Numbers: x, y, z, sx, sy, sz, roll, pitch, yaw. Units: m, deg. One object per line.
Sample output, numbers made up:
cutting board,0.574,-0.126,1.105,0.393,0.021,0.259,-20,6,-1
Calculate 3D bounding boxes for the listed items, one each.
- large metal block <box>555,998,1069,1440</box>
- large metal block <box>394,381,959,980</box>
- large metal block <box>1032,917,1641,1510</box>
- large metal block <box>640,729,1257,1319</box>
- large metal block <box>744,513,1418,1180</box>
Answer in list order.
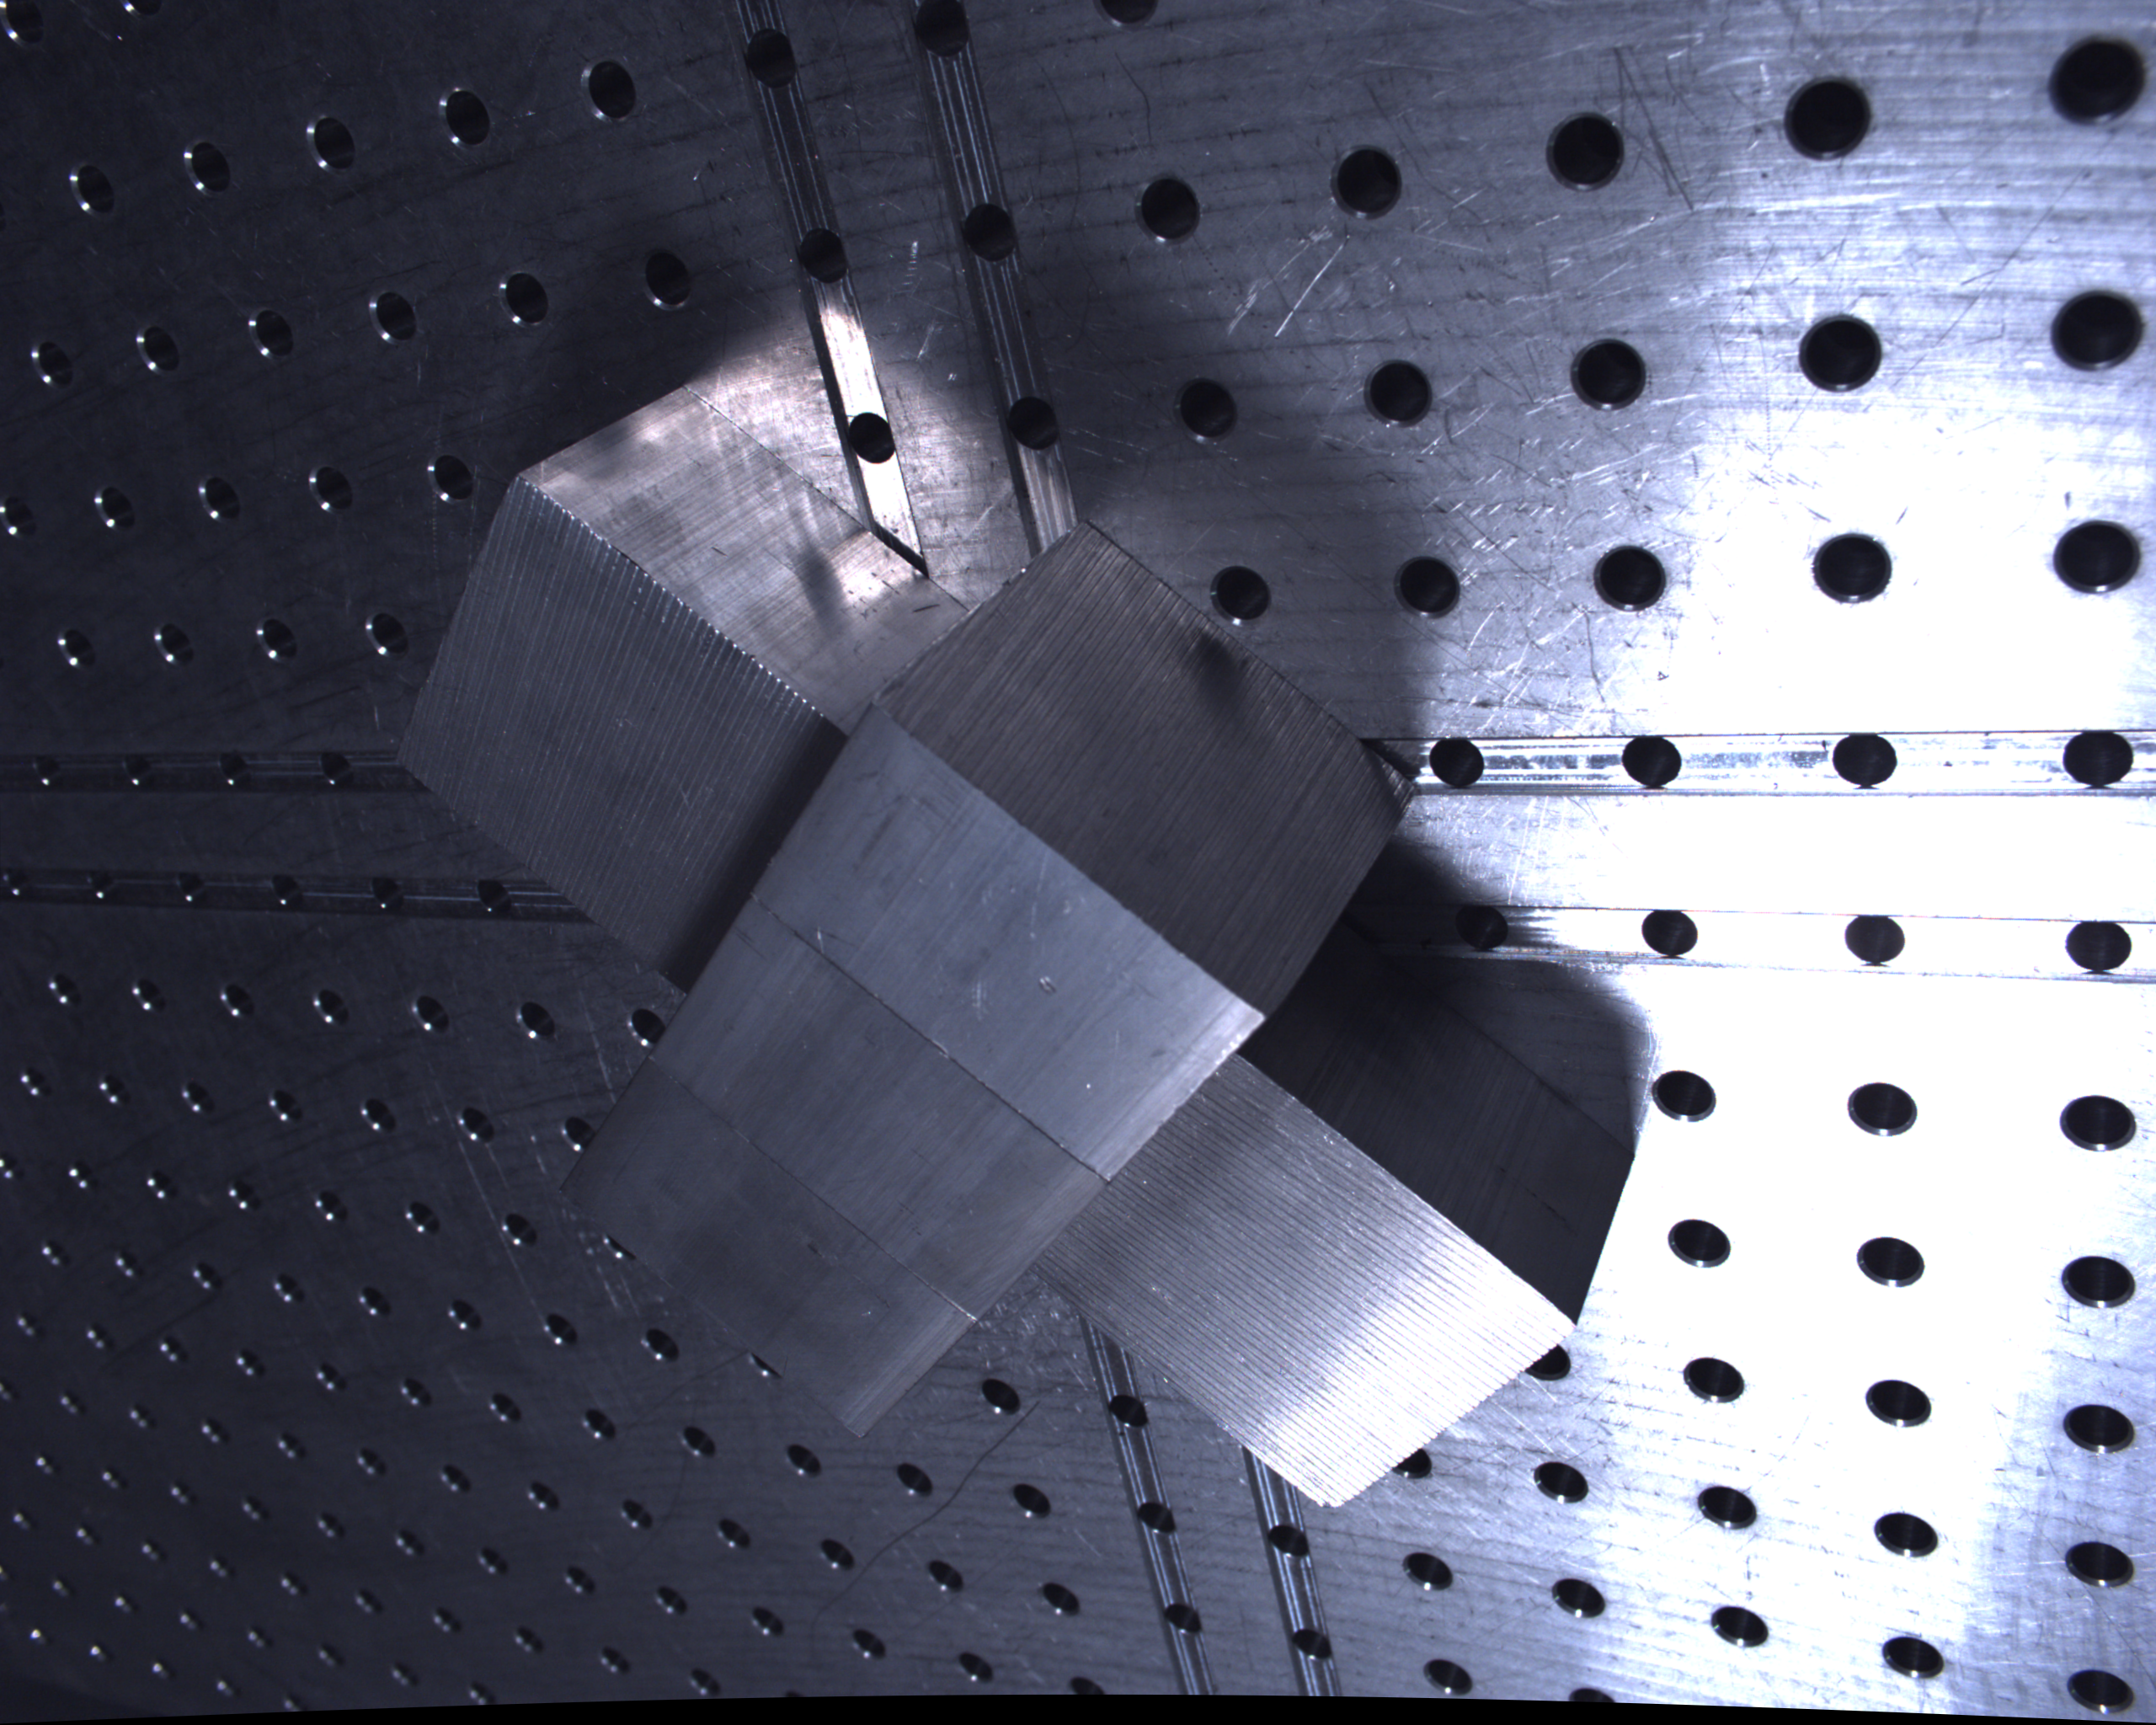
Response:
large metal block,-0.045,0.056,0.433,0.080,0.080,0.050,39,129,1
large metal block,-0.077,-0.032,0.410,0.080,0.050,0.080,38,130,2
large metal block,0.048,0.068,0.411,0.080,0.050,0.080,39,130,1
large metal block,-0.021,0.025,0.402,0.080,0.080,0.050,39,129,1
large metal block,0.003,-0.005,0.370,0.080,0.080,0.050,39,129,1
